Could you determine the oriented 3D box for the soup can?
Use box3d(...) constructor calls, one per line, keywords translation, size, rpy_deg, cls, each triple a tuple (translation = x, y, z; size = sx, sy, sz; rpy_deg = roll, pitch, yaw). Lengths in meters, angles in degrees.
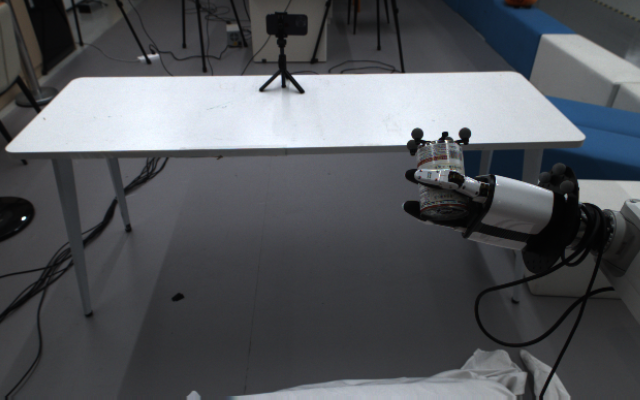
box3d(translation=(0.177, -0.028, 0.698), size=(0.067, 0.067, 0.101), rpy_deg=(1, 73, -2), cls="soup can")
